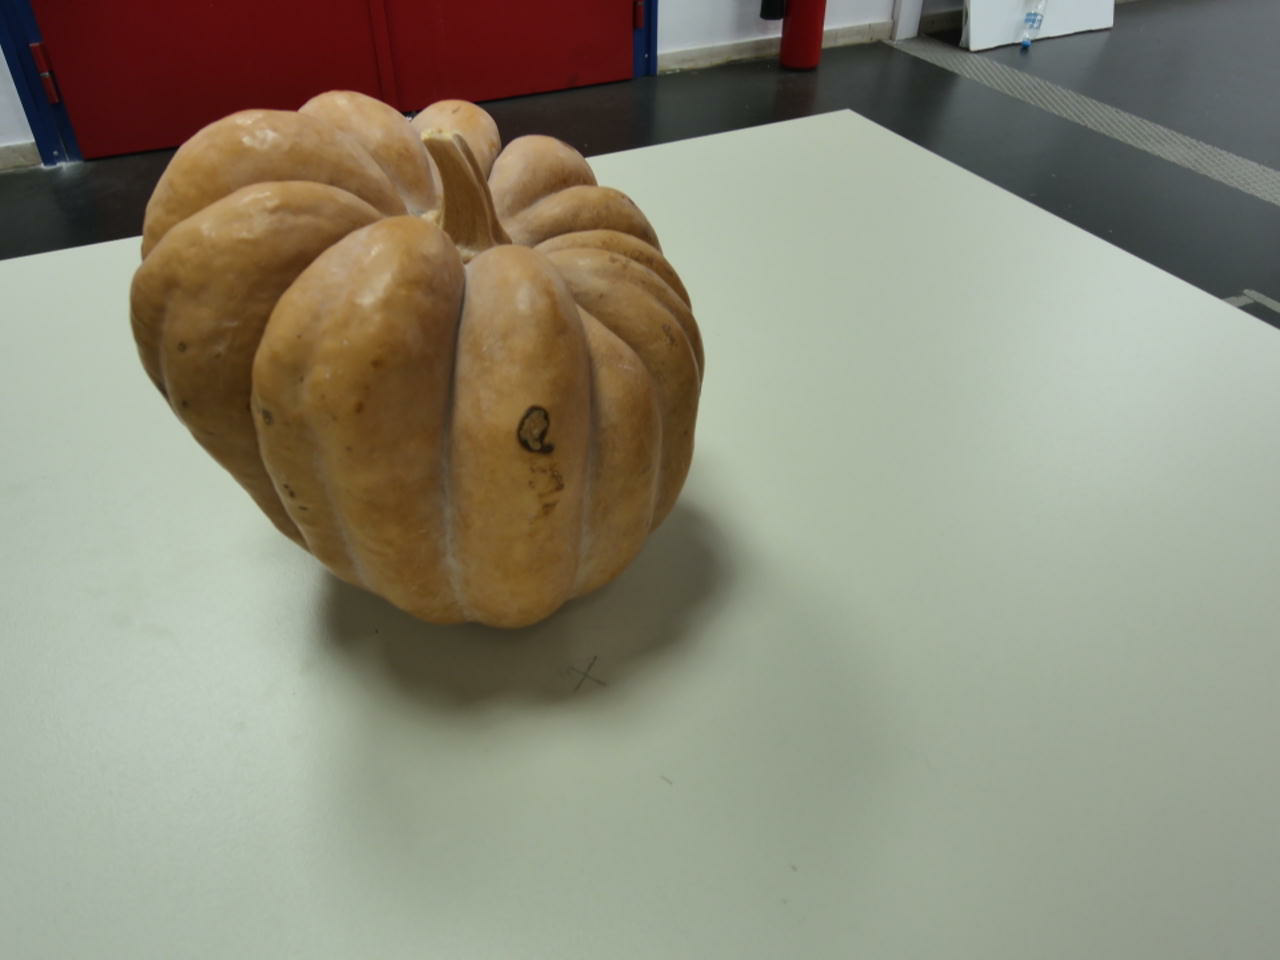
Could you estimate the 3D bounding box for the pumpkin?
[{"bbox_3d":[-0.072,-0.042,0.362,0.199,0.177,0.198,0,38,0],"label":"pumpkin"}]
